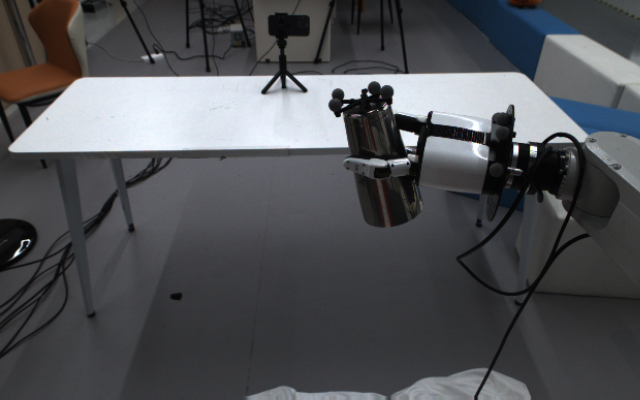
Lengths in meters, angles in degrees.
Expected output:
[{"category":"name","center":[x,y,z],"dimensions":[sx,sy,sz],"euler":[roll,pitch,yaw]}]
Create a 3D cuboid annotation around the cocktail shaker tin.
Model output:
[{"category":"cocktail shaker tin","center":[0.086,-0.057,0.694],"dimensions":[0.093,0.170,0.093],"euler":[-15,29,8]}]
